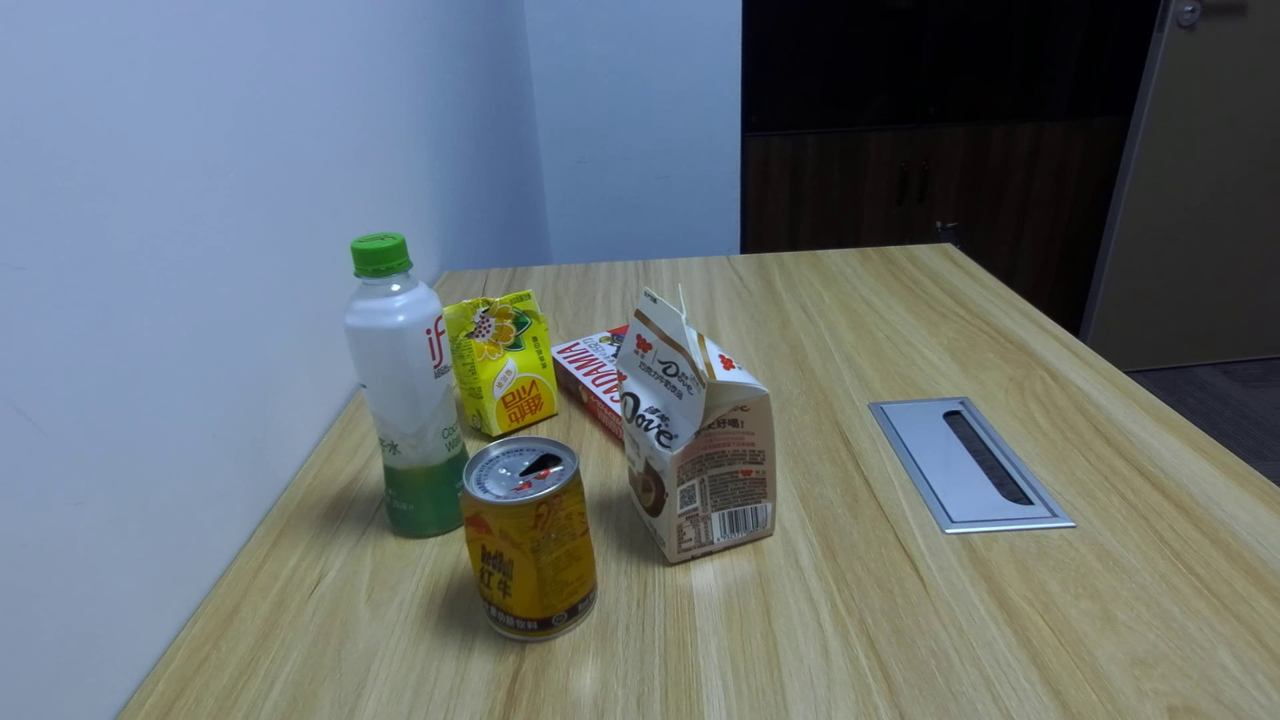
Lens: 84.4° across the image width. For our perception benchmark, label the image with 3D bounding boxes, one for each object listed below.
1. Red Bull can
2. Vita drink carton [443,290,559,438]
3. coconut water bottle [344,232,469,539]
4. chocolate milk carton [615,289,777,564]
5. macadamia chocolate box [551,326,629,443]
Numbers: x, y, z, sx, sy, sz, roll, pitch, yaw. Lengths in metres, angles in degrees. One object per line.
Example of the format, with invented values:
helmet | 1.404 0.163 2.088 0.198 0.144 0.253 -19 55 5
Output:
Red Bull can | -0.058 0.095 0.384 0.072 0.092 0.072 -3 27 2
Vita drink carton | -0.113 0.000 0.572 0.087 0.108 0.042 -19 16 -35
coconut water bottle | -0.144 0.017 0.444 0.063 0.189 0.063 -3 25 2
chocolate milk carton | 0.033 0.033 0.423 0.074 0.156 0.076 -14 29 -15
macadamia chocolate box | -0.005 0.021 0.616 0.096 0.027 0.177 -17 30 -23
